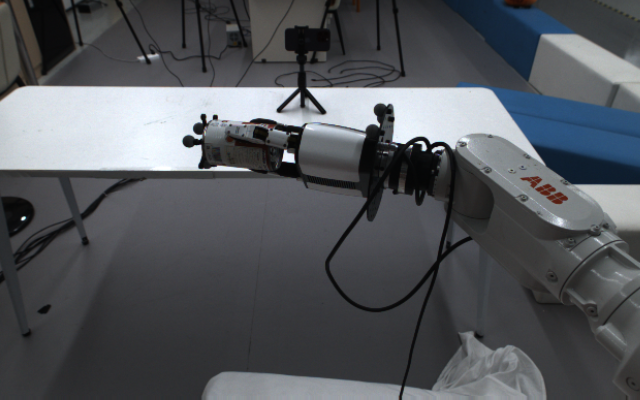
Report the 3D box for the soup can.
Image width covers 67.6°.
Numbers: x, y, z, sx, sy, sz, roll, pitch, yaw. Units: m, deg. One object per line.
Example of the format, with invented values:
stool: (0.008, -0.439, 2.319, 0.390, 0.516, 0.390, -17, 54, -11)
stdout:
soup can: (-0.108, -0.078, 0.697, 0.101, 0.067, 0.067, 6, 35, 11)
